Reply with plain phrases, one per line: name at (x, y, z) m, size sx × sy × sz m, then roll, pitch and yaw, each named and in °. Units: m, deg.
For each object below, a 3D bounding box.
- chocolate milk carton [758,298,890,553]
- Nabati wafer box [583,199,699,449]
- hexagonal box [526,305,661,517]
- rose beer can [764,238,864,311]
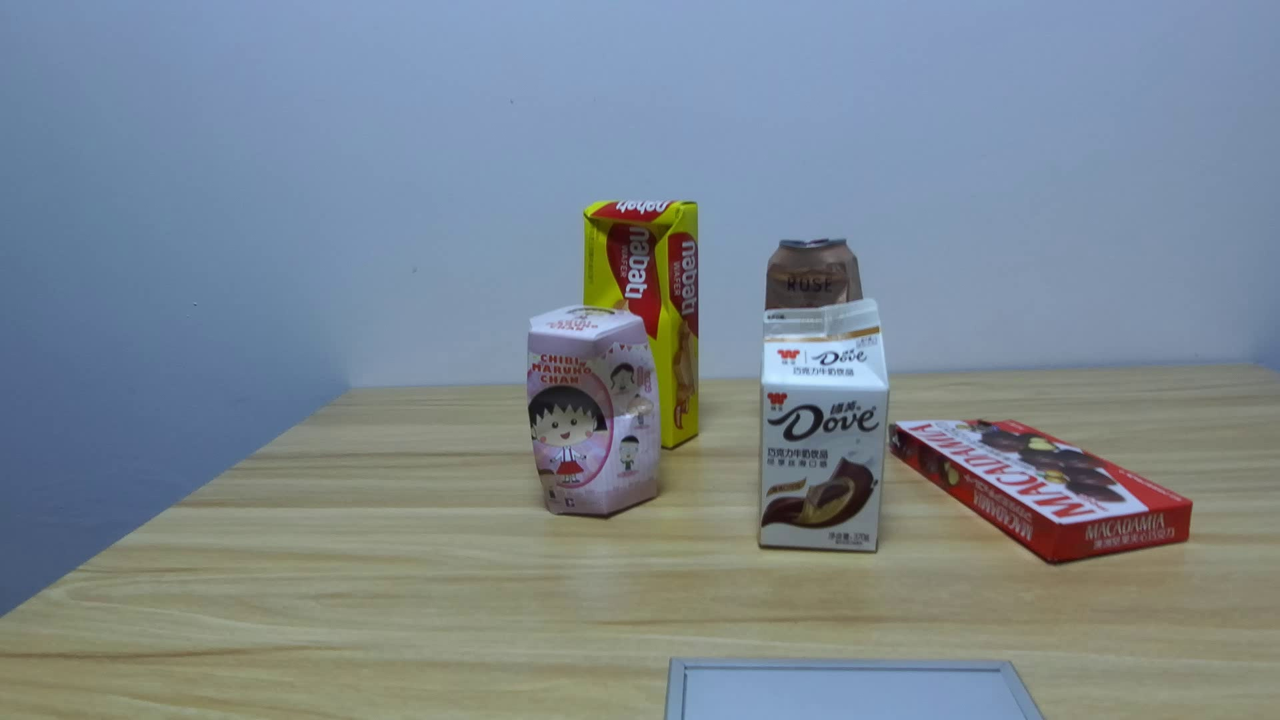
chocolate milk carton at (0.111, 0.036, 0.442) m, size 0.075 × 0.148 × 0.074 m, roll 1°, pitch 16°, yaw 8°
Nabati wafer box at (0.001, -0.030, 0.600) m, size 0.096 × 0.203 × 0.042 m, roll 10°, pitch 18°, yaw 36°
hexagonal box at (-0.038, 0.035, 0.506) m, size 0.089 × 0.134 × 0.093 m, roll -8°, pitch 17°, yaw -16°
rose beer can at (0.142, -0.014, 0.579) m, size 0.075 × 0.167 × 0.065 m, roll 8°, pitch 16°, yaw 39°
